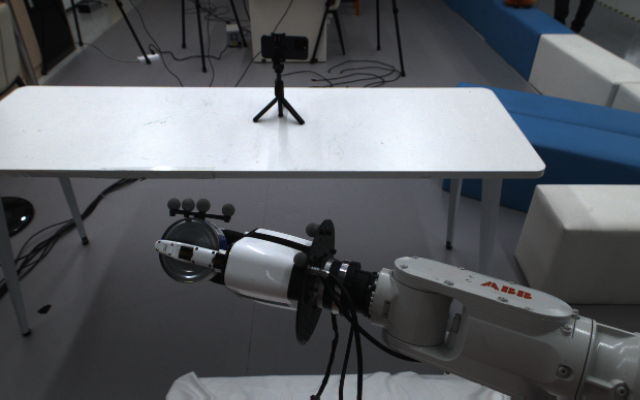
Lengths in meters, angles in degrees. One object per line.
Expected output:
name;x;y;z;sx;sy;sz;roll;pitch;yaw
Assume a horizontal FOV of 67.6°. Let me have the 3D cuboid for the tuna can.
tuna can;-0.166;0.067;0.644;0.085;0.085;0.034;11;-5;13
